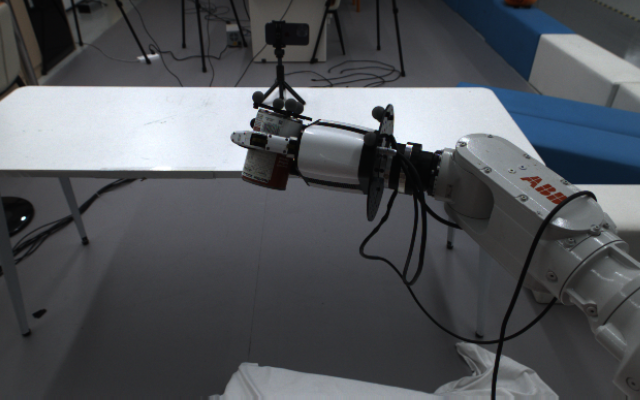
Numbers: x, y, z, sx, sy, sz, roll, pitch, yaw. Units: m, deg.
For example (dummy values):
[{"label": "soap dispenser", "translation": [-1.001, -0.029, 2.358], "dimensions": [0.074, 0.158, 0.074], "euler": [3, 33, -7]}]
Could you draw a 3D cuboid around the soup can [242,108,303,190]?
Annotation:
[{"label": "soup can", "translation": [-0.068, -0.071, 0.688], "dimensions": [0.067, 0.101, 0.067], "euler": [15, 7, -2]}]
